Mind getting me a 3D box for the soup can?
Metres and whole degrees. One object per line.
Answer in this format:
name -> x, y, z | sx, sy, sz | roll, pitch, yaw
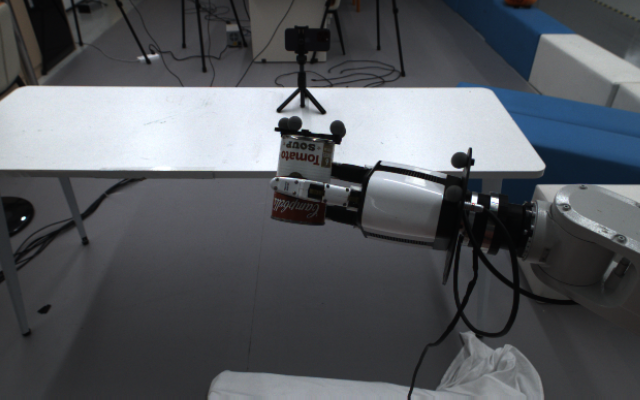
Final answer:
soup can -> -0.020, -0.025, 0.592 | 0.067, 0.101, 0.067 | 7, 4, 0
